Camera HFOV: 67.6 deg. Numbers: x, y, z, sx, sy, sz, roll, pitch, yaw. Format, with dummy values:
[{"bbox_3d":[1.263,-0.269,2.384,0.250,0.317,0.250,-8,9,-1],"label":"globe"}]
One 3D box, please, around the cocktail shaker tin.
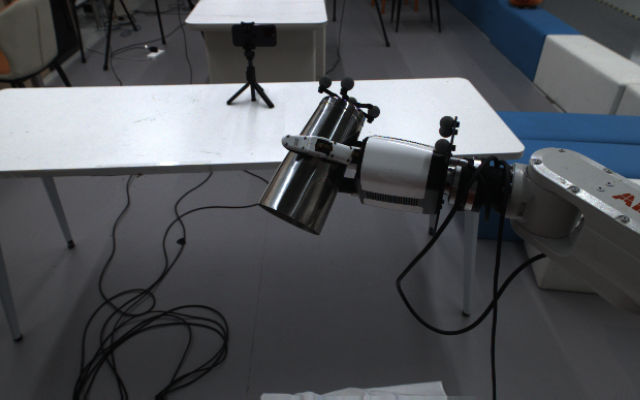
[{"bbox_3d":[-0.003,-0.052,0.648,0.093,0.093,0.170,21,81,25],"label":"cocktail shaker tin"}]
